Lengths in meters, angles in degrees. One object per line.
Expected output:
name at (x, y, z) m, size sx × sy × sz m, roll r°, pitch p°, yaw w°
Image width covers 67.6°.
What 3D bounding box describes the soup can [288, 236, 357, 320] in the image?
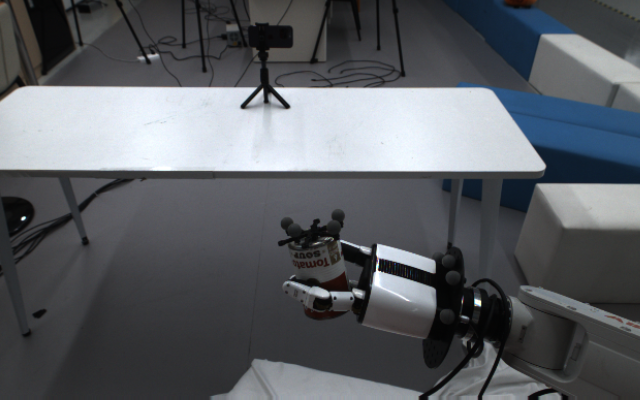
soup can at (0.004, 0.094, 0.626) m, size 0.067 × 0.101 × 0.067 m, roll -12°, pitch 17°, yaw 4°
